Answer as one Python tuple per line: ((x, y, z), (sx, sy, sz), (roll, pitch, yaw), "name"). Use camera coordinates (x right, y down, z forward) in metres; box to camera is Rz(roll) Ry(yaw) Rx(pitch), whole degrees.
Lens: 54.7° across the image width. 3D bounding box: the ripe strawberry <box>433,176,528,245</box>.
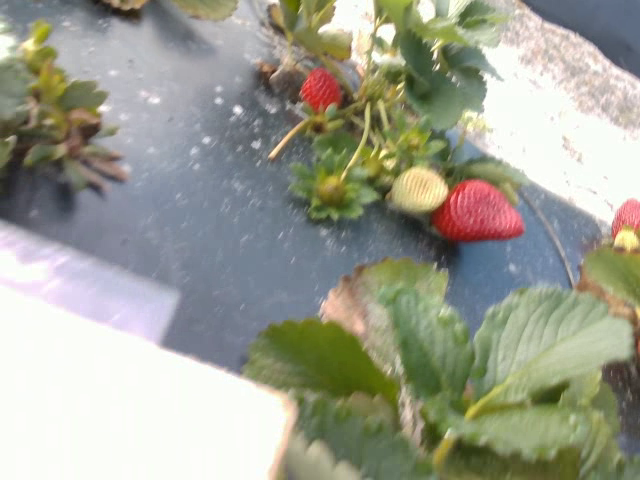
((0.104, -0.014, 0.379), (0.051, 0.048, 0.055), (-33, 32, -14), "ripe strawberry")
